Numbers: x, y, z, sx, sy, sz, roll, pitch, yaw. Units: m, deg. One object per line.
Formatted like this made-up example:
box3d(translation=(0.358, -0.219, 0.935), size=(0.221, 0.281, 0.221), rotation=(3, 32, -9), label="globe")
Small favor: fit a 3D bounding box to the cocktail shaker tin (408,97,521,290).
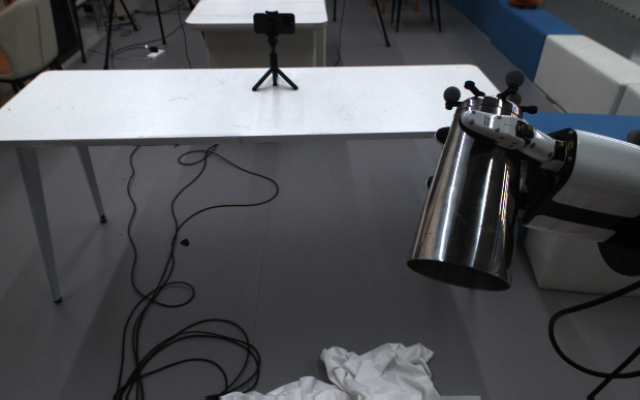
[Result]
box3d(translation=(0.149, -0.012, 0.464), size=(0.093, 0.093, 0.170), rotation=(12, 72, 14), label="cocktail shaker tin")
